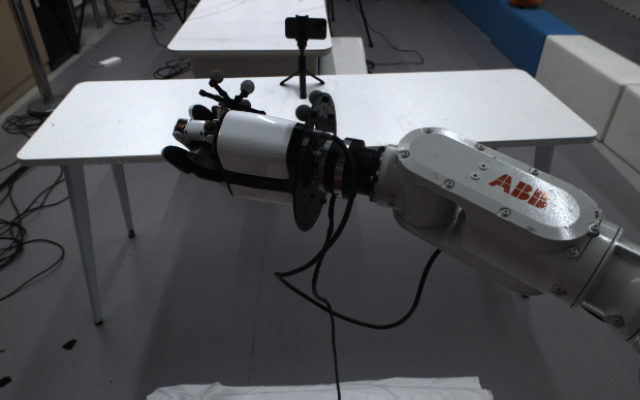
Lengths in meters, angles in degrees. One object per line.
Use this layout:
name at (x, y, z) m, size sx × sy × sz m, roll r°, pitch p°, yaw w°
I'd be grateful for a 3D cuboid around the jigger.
jigger at (-0.125, -0.076, 0.588) m, size 0.043 × 0.043 × 0.071 m, roll 15°, pitch 71°, yaw 18°
